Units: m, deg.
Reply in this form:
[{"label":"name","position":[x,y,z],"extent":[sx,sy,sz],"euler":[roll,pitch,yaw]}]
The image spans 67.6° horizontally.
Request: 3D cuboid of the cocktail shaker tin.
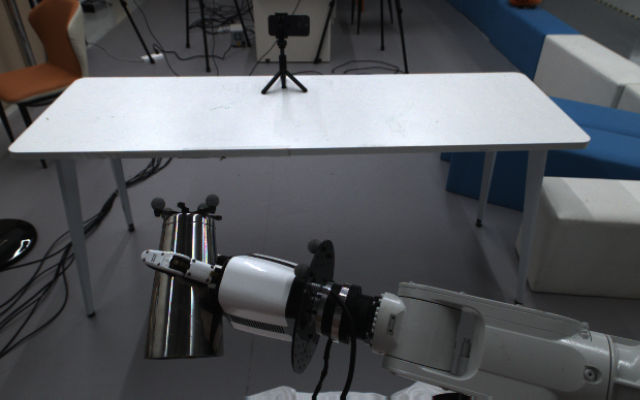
[{"label":"cocktail shaker tin","position":[-0.166,0.108,0.601],"extent":[0.093,0.093,0.170],"euler":[-2,71,-6]}]
